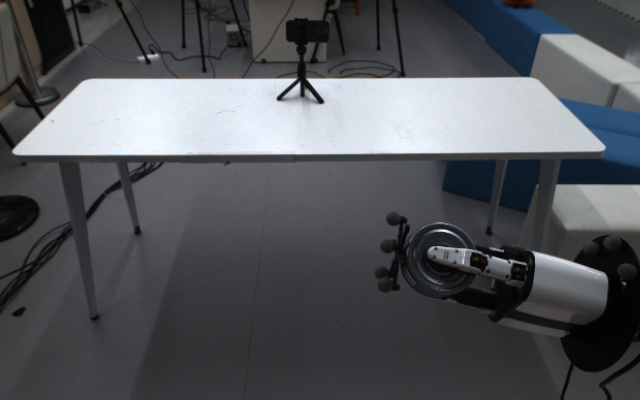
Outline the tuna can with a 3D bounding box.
[{"bbox_3d":[0.142,0.067,0.568,0.085,0.034,0.085,2,73,-6],"label":"tuna can"}]
